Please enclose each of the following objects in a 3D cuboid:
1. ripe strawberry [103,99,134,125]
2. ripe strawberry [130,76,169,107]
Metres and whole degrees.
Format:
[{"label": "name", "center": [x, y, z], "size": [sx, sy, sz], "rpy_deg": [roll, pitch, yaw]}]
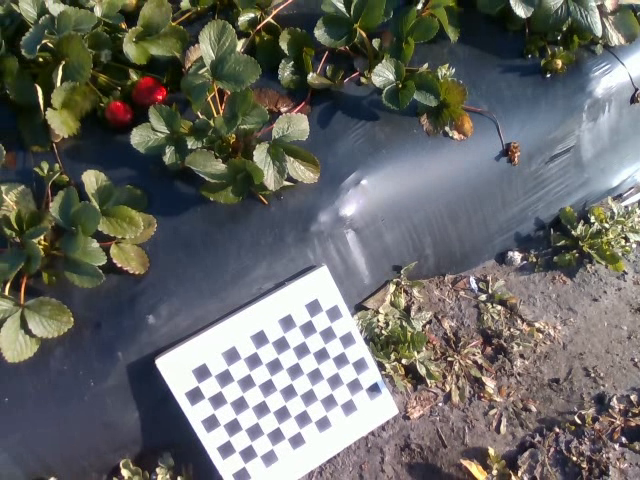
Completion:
[{"label": "ripe strawberry", "center": [-0.284, -0.176, 0.858], "size": [0.051, 0.043, 0.036], "rpy_deg": [20, 3, 31]}, {"label": "ripe strawberry", "center": [-0.243, -0.210, 0.874], "size": [0.057, 0.052, 0.046], "rpy_deg": [27, -1, 33]}]
